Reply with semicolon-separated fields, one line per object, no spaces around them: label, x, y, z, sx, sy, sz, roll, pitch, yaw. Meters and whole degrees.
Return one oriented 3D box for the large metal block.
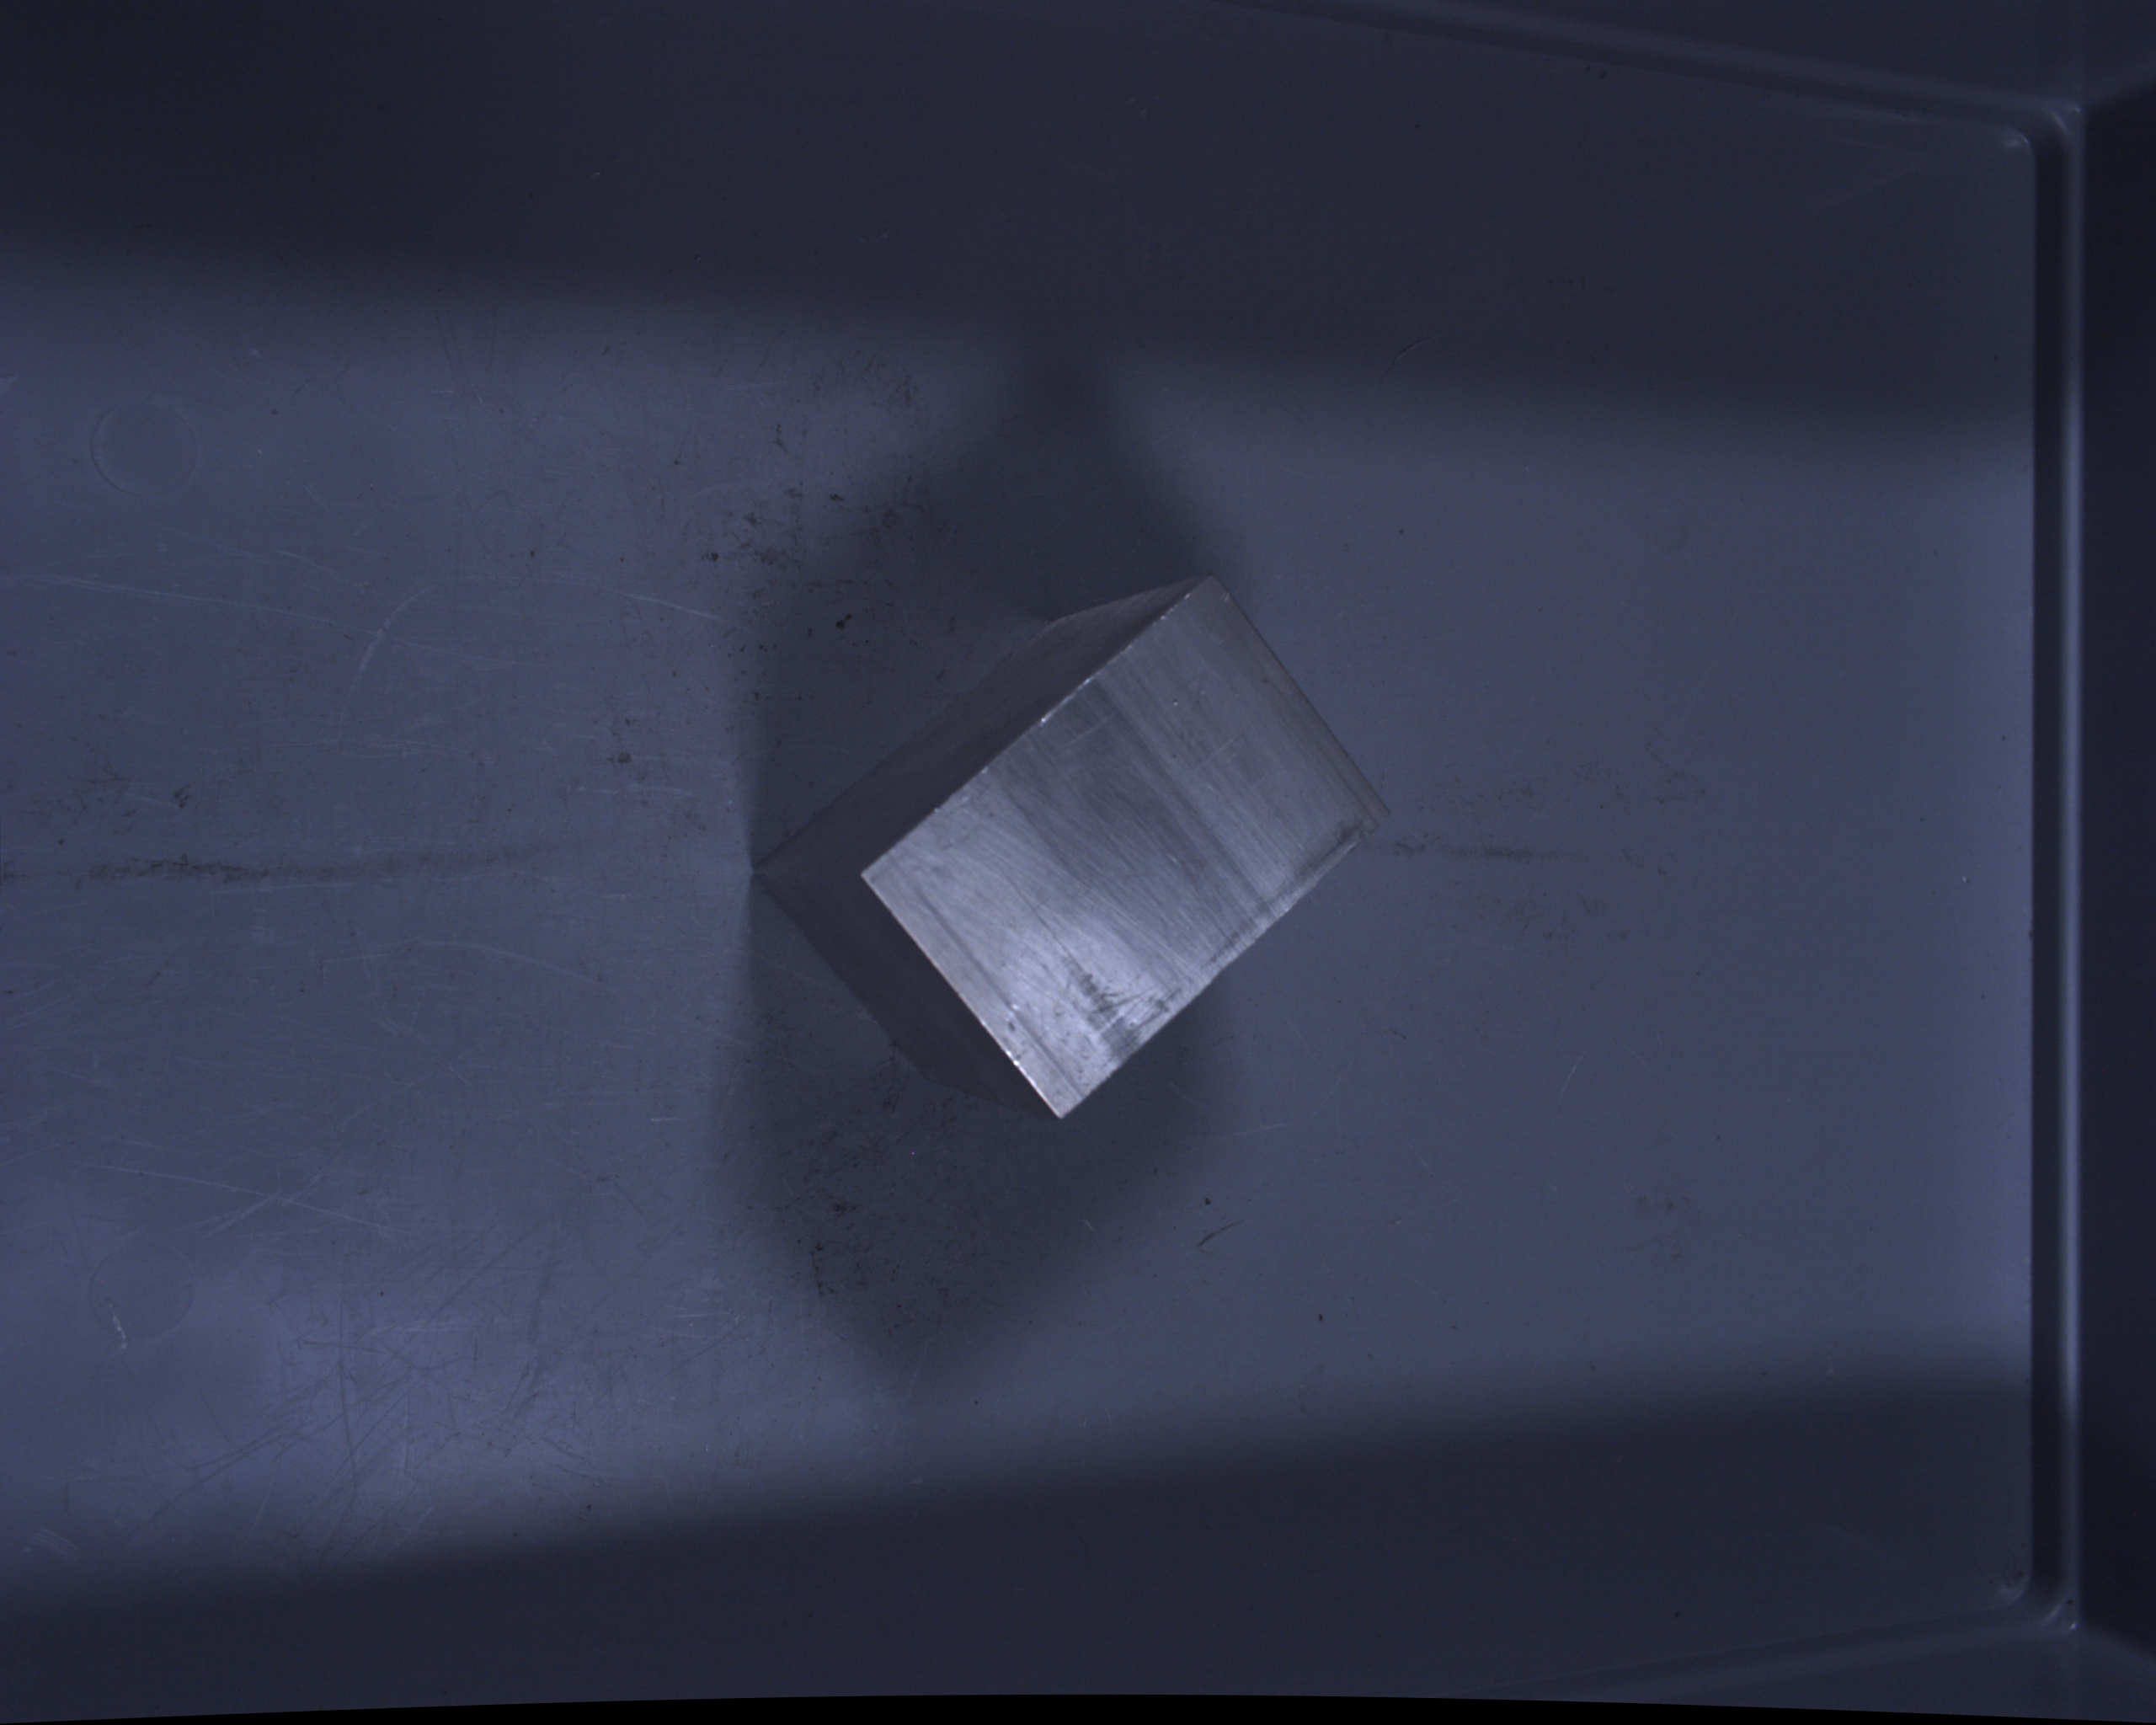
large metal block;-0.003;-0.004;0.378;0.080;0.080;0.050;-41;104;-15
